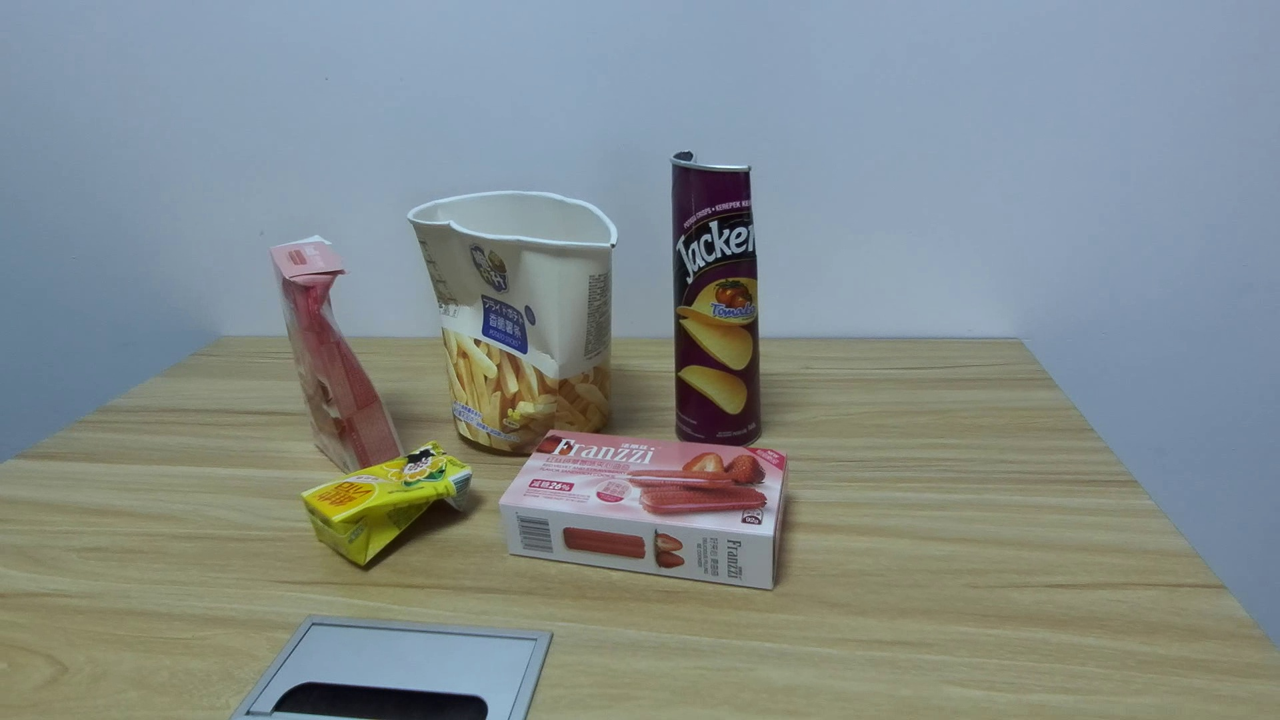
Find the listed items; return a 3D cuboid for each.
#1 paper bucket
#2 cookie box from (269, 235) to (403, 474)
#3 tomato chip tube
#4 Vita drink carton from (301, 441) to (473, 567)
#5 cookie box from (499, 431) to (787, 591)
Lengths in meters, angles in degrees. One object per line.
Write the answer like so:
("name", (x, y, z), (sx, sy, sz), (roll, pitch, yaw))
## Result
("paper bucket", (-0.103, -0.035, 0.623), (0.217, 0.199, 0.147), (3, 26, 15))
("cookie box", (-0.252, 0.001, 0.587), (0.056, 0.184, 0.118), (-21, 30, -31))
("tomato chip tube", (0.063, -0.044, 0.576), (0.076, 0.235, 0.078), (5, 25, 18))
("Vita drink carton", (-0.183, 0.104, 0.526), (0.109, 0.042, 0.086), (-22, 23, -41))
("cookie box", (0.006, 0.100, 0.497), (0.184, 0.048, 0.096), (3, 27, 15))
